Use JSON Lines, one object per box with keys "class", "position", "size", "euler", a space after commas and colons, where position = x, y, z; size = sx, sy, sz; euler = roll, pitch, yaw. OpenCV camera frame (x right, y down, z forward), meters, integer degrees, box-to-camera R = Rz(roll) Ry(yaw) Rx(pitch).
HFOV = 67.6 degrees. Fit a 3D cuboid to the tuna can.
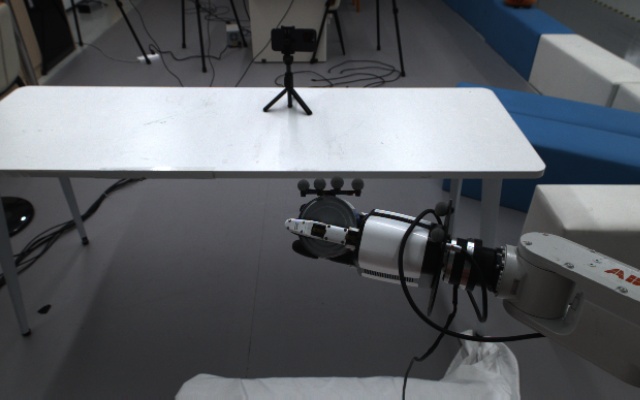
{"class": "tuna can", "position": [0.014, 0.037, 0.677], "size": [0.085, 0.085, 0.034], "euler": [15, 1, 18]}
